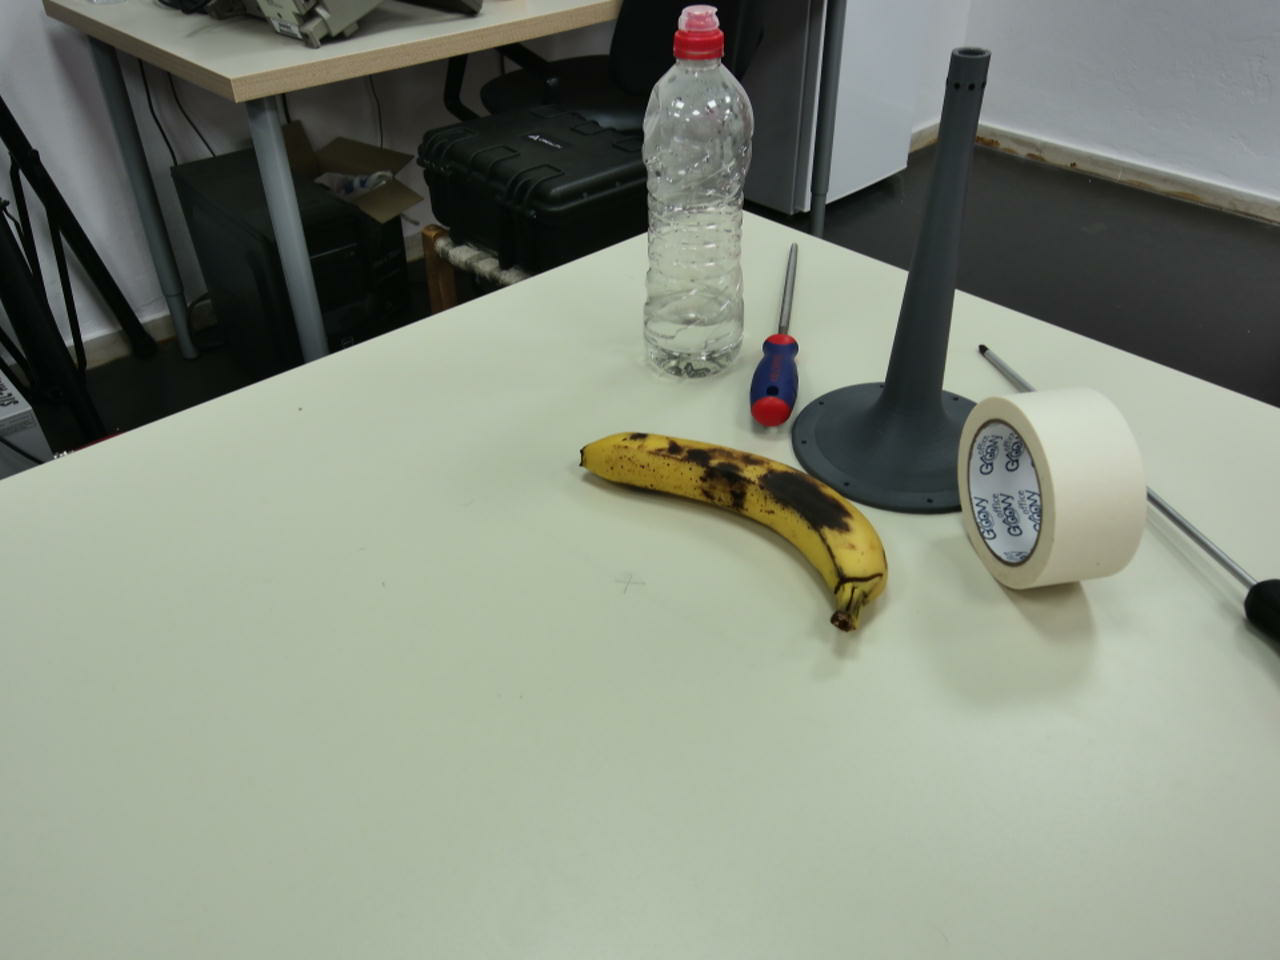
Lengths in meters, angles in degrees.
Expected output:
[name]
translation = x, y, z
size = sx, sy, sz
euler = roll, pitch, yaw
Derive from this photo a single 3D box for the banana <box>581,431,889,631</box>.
[banana]
translation = 0.063, 0.014, 0.595
size = 0.084, 0.037, 0.222
euler = -28, 44, -31
